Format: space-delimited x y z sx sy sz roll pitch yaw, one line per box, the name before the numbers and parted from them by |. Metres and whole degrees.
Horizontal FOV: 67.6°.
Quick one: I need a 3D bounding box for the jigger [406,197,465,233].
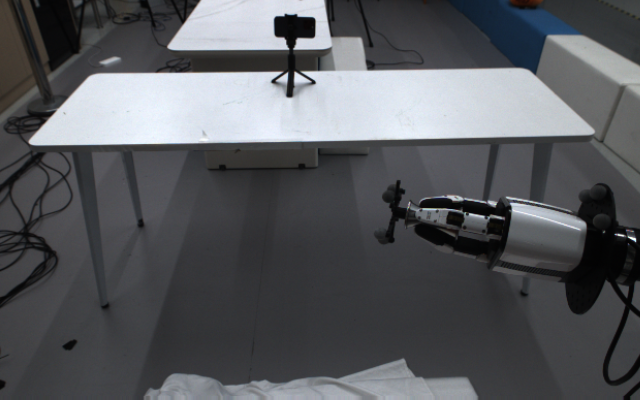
jigger | 0.154 0.021 0.631 0.071 0.043 0.043 10 35 15
